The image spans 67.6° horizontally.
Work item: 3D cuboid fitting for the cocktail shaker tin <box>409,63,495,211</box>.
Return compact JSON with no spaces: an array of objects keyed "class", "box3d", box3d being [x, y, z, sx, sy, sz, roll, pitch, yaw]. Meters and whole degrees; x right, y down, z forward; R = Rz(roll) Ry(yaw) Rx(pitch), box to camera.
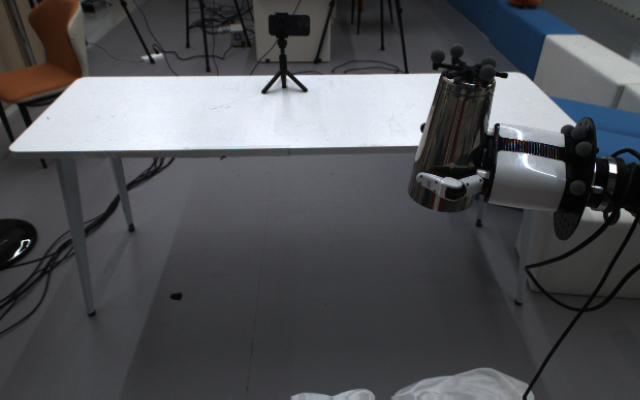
[{"class":"cocktail shaker tin","box3d":[0.175,-0.080,0.635,0.093,0.170,0.093,3,34,-2]}]
